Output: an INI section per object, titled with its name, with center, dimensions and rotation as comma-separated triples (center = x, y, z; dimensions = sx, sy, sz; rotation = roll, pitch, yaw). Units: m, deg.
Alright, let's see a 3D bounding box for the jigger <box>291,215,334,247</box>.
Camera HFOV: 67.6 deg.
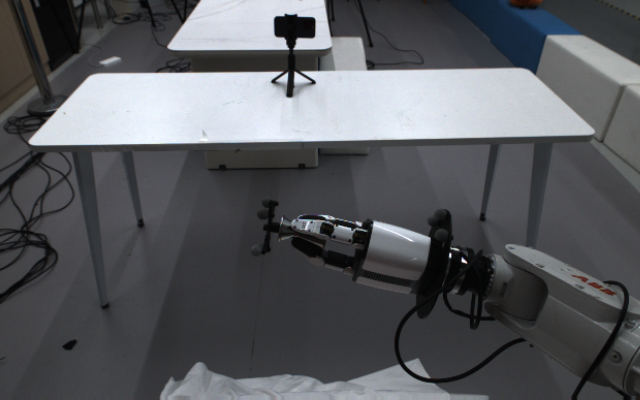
[jigger]
center = -0.017, 0.043, 0.702
dimensions = 0.071, 0.043, 0.043
rotation = 9, 35, 1
